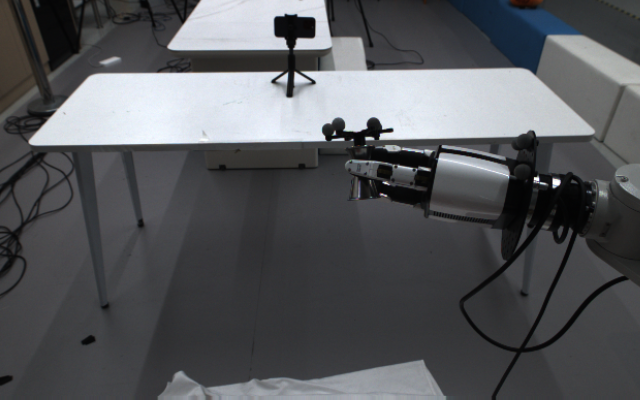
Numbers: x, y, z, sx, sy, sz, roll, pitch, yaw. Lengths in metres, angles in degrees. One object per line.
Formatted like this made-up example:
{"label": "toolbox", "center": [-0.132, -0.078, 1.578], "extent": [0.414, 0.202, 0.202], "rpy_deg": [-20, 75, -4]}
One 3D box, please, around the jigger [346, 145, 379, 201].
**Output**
{"label": "jigger", "center": [0.054, -0.035, 0.629], "extent": [0.043, 0.071, 0.043], "rpy_deg": [-4, 1, 0]}
